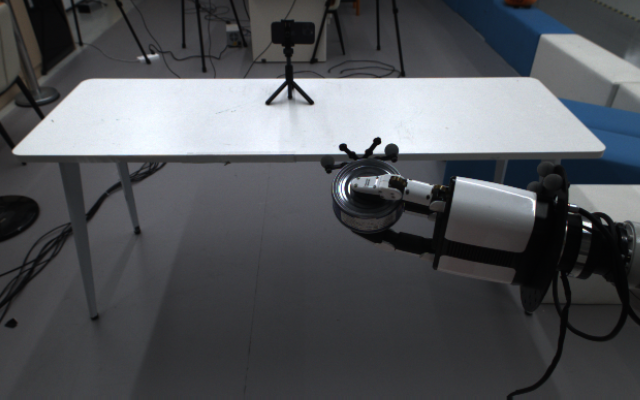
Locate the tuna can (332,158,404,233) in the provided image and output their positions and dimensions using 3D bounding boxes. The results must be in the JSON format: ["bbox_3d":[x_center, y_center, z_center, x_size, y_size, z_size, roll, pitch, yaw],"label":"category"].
[{"bbox_3d":[0.059,-0.006,0.566,0.085,0.034,0.085,-3,61,5],"label":"tuna can"}]
